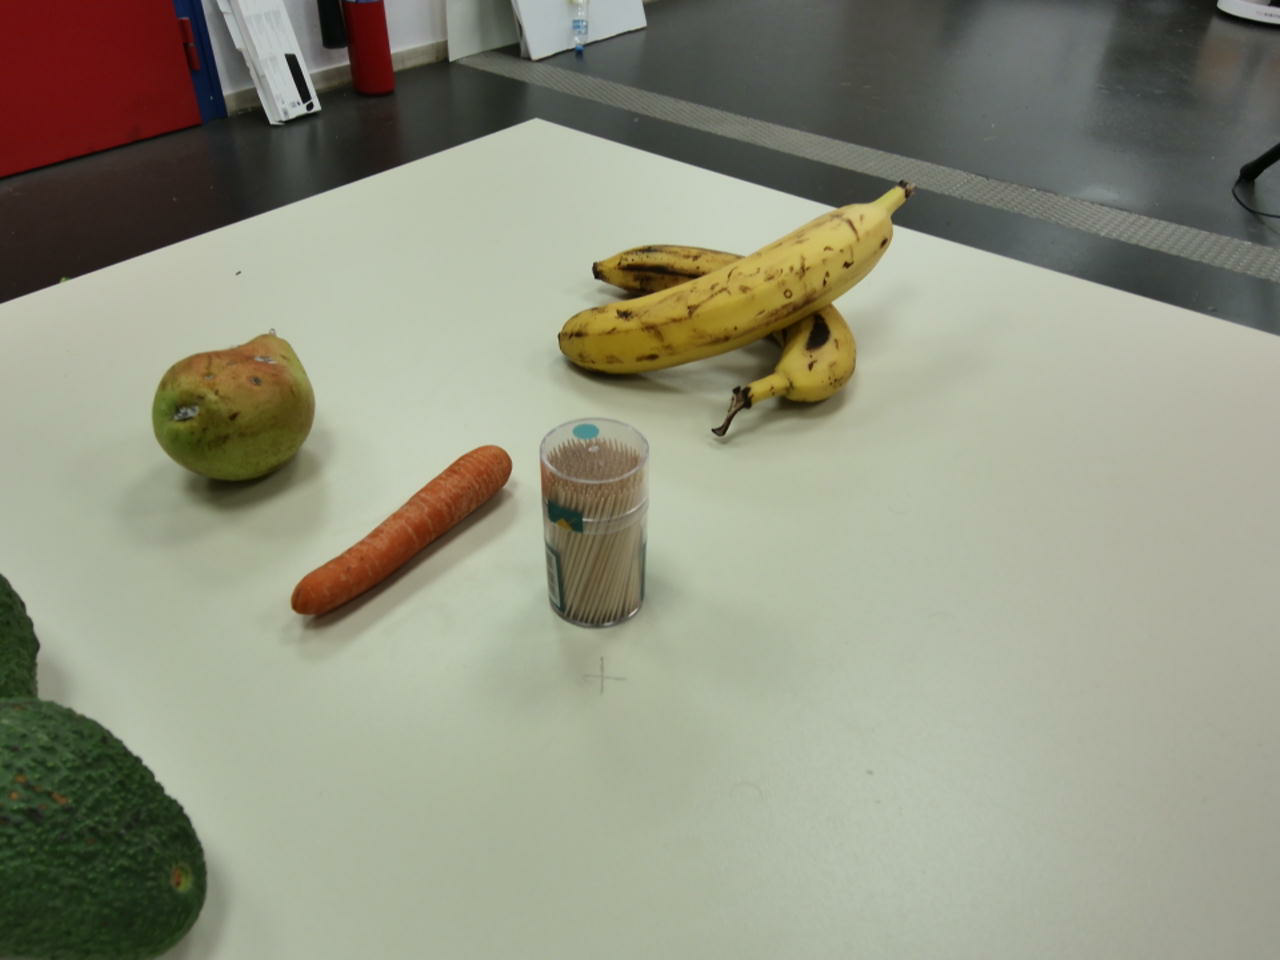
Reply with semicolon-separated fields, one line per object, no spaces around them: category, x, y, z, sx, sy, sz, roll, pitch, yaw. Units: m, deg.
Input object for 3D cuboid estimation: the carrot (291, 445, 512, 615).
carrot;-0.097;0.019;0.423;0.024;0.023;0.122;23;41;28
